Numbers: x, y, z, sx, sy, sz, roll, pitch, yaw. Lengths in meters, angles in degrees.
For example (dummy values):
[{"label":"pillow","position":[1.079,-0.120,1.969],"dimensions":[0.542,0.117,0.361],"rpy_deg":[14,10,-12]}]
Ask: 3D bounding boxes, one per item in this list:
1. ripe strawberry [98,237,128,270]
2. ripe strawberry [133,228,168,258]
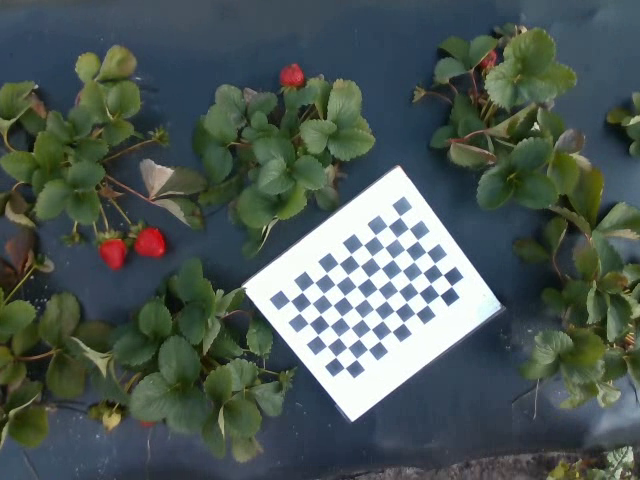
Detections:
[{"label":"ripe strawberry","position":[-0.345,0.026,0.926],"dimensions":[0.048,0.056,0.041],"rpy_deg":[-23,-17,-3]},{"label":"ripe strawberry","position":[-0.284,0.010,0.924],"dimensions":[0.064,0.058,0.051],"rpy_deg":[32,-1,25]}]
